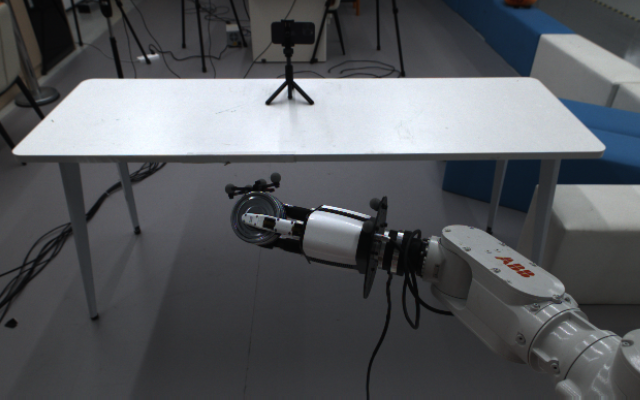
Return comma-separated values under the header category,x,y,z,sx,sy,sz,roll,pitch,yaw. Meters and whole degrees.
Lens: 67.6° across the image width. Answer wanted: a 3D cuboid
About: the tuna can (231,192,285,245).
category,x,y,z,sx,sy,sz,roll,pitch,yaw
tuna can,-0.096,0.035,0.774,0.085,0.085,0.034,13,-6,15
